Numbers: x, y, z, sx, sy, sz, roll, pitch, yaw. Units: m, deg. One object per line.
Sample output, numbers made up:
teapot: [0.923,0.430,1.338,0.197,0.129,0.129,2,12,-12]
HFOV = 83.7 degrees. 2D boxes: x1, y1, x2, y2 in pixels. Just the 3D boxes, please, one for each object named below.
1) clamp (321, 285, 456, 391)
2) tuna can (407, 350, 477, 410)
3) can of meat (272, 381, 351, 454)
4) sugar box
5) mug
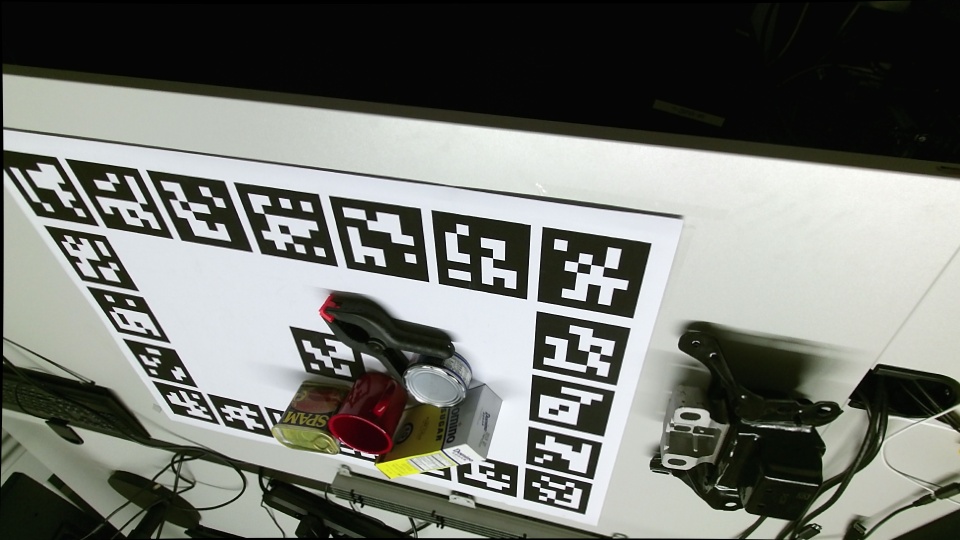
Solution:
clamp: [-0.122,0.078,0.665,0.165,0.036,0.122,38,134,-7]
tuna can: [-0.048,0.136,0.679,0.086,0.033,0.086,9,128,12]
can of meat: [-0.240,0.213,0.784,0.102,0.083,0.058,3,129,19]
sugar box: [-0.055,0.218,0.718,0.177,0.092,0.045,-25,118,35]
mug: [-0.146,0.194,0.726,0.093,0.081,0.117,29,129,-4]
